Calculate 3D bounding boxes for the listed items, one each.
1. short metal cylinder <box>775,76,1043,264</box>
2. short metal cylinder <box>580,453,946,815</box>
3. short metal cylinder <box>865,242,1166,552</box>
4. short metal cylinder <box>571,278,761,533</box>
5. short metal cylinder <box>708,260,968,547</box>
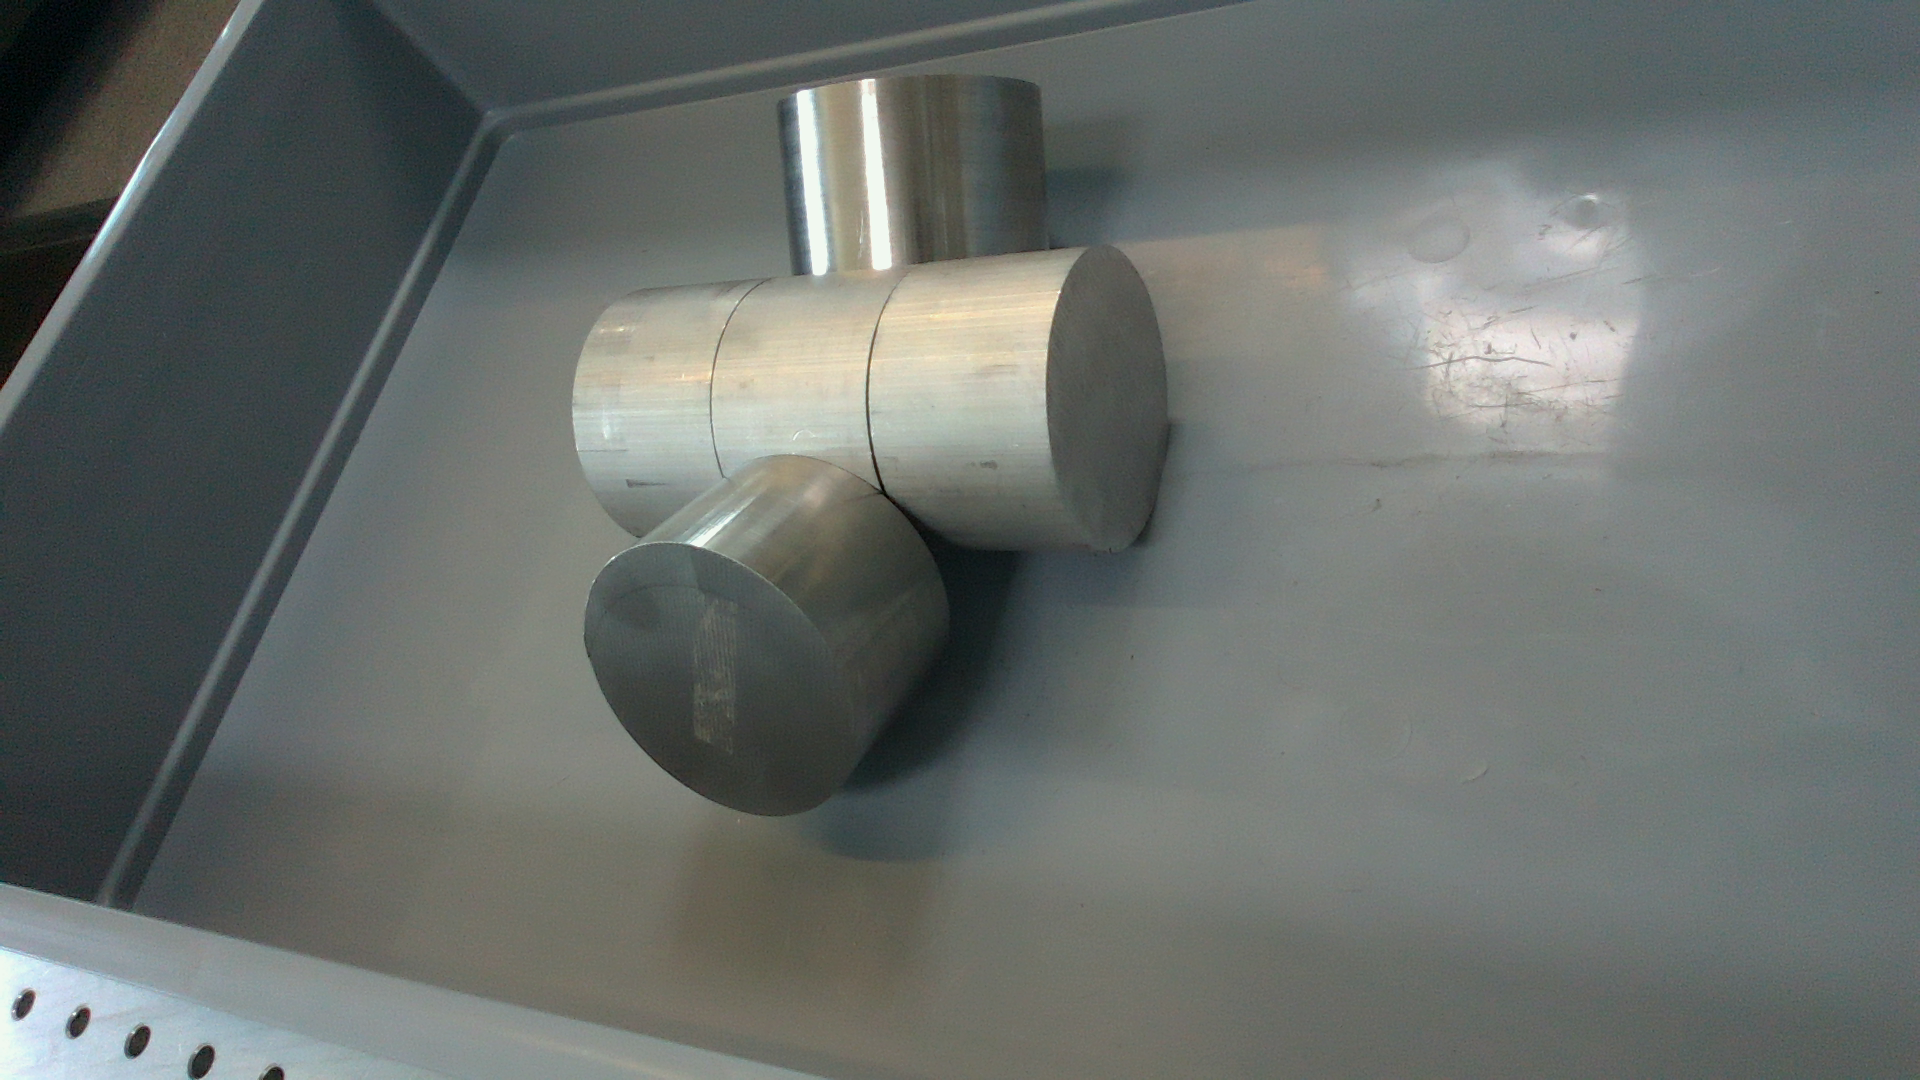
[{"bbox_3d":[-0.015,-0.109,0.422,0.080,0.080,0.050,2,100,29],"label":"short metal cylinder"},{"bbox_3d":[-0.051,0.024,0.360,0.080,0.080,0.050,0,27,29],"label":"short metal cylinder"},{"bbox_3d":[0.017,-0.037,0.370,0.050,0.080,0.080,1,62,29],"label":"short metal cylinder"},{"bbox_3d":[-0.071,-0.038,0.419,0.050,0.080,0.080,1,62,29],"label":"short metal cylinder"},{"bbox_3d":[-0.026,-0.038,0.394,0.050,0.080,0.080,1,62,29],"label":"short metal cylinder"}]
